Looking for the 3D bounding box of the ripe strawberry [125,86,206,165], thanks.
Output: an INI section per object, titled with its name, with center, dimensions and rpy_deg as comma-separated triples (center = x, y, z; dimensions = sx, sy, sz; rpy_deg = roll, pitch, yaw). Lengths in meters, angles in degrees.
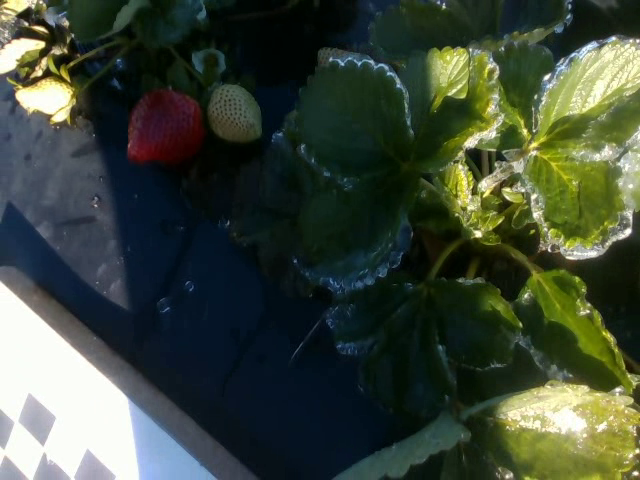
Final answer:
[ripe strawberry]
center = -0.078, -0.051, 0.281
dimensions = 0.040, 0.042, 0.053
rpy_deg = -3, 32, 21
